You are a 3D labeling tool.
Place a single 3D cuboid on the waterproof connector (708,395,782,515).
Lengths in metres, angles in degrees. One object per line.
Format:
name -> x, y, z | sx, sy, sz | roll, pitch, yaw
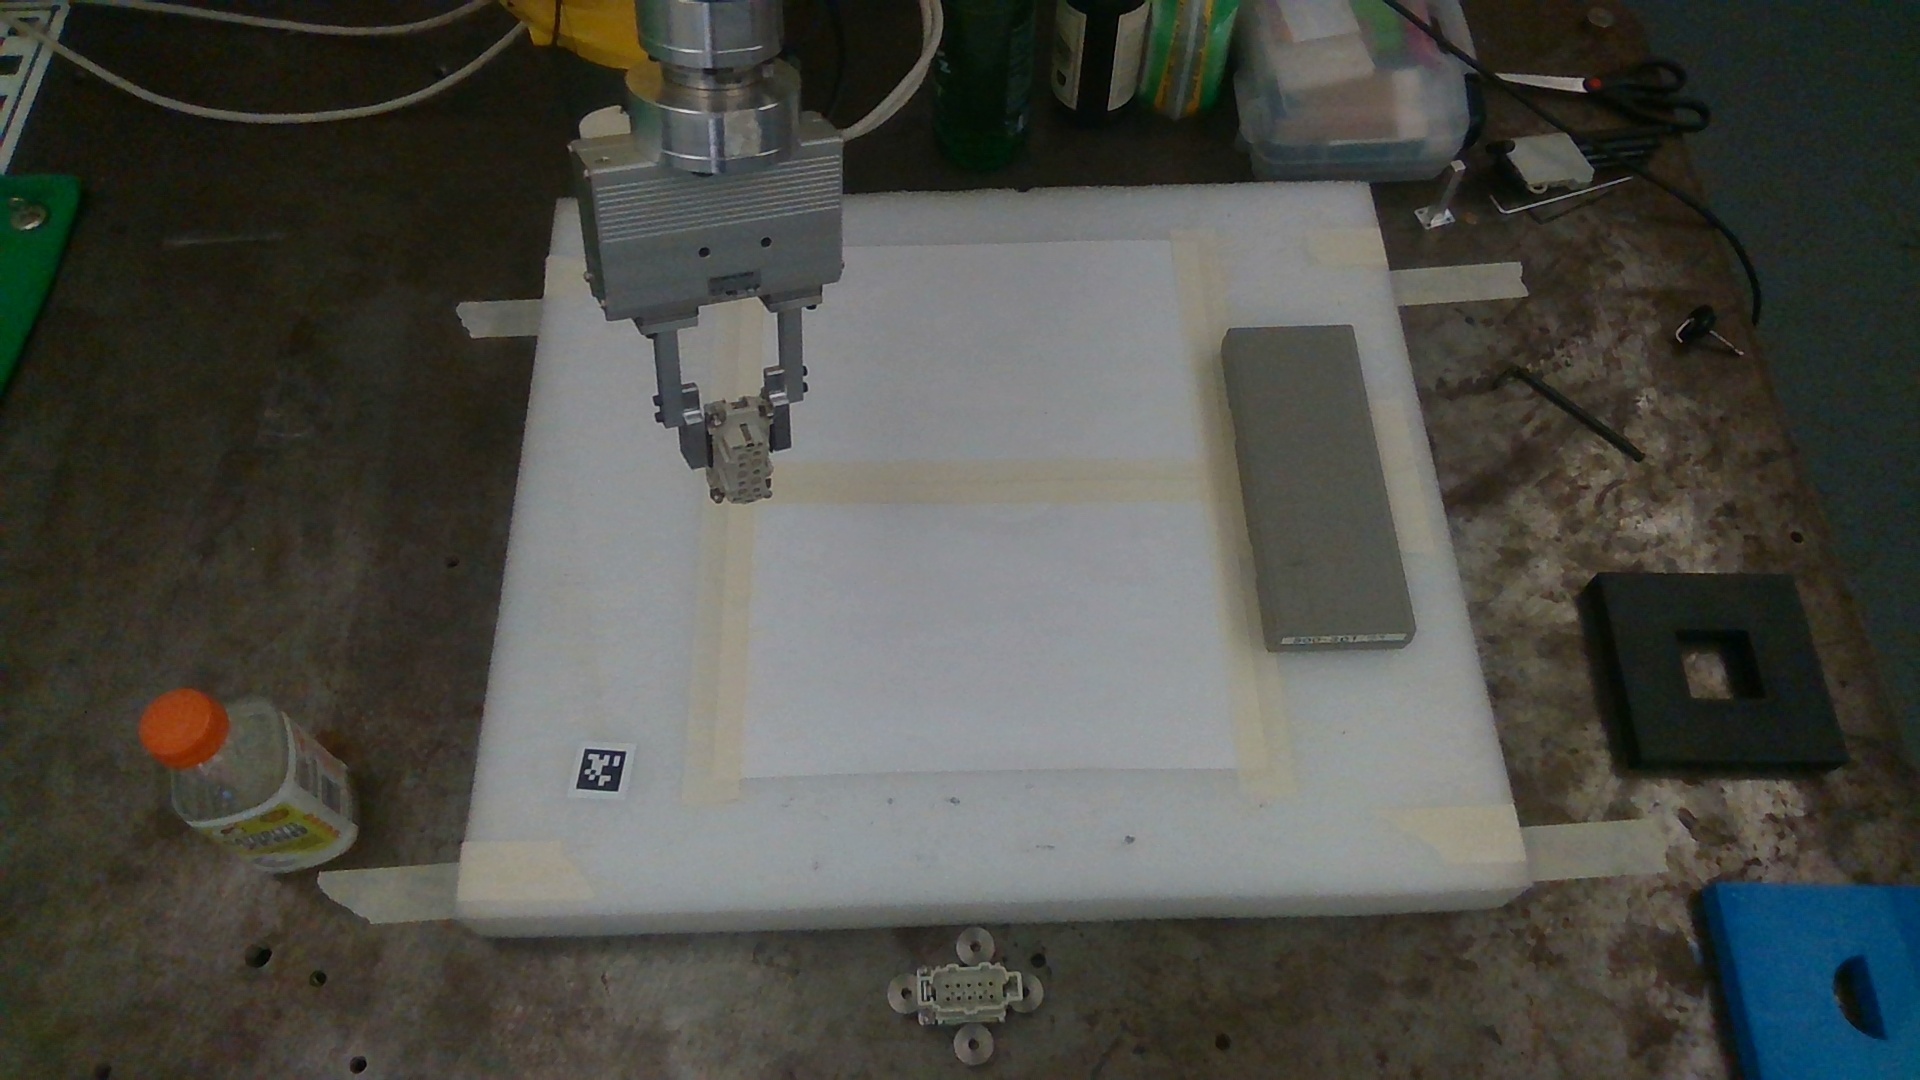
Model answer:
waterproof connector -> -0.114, -0.047, 0.745 | 0.036, 0.069, 0.039 | -10, 42, -18
